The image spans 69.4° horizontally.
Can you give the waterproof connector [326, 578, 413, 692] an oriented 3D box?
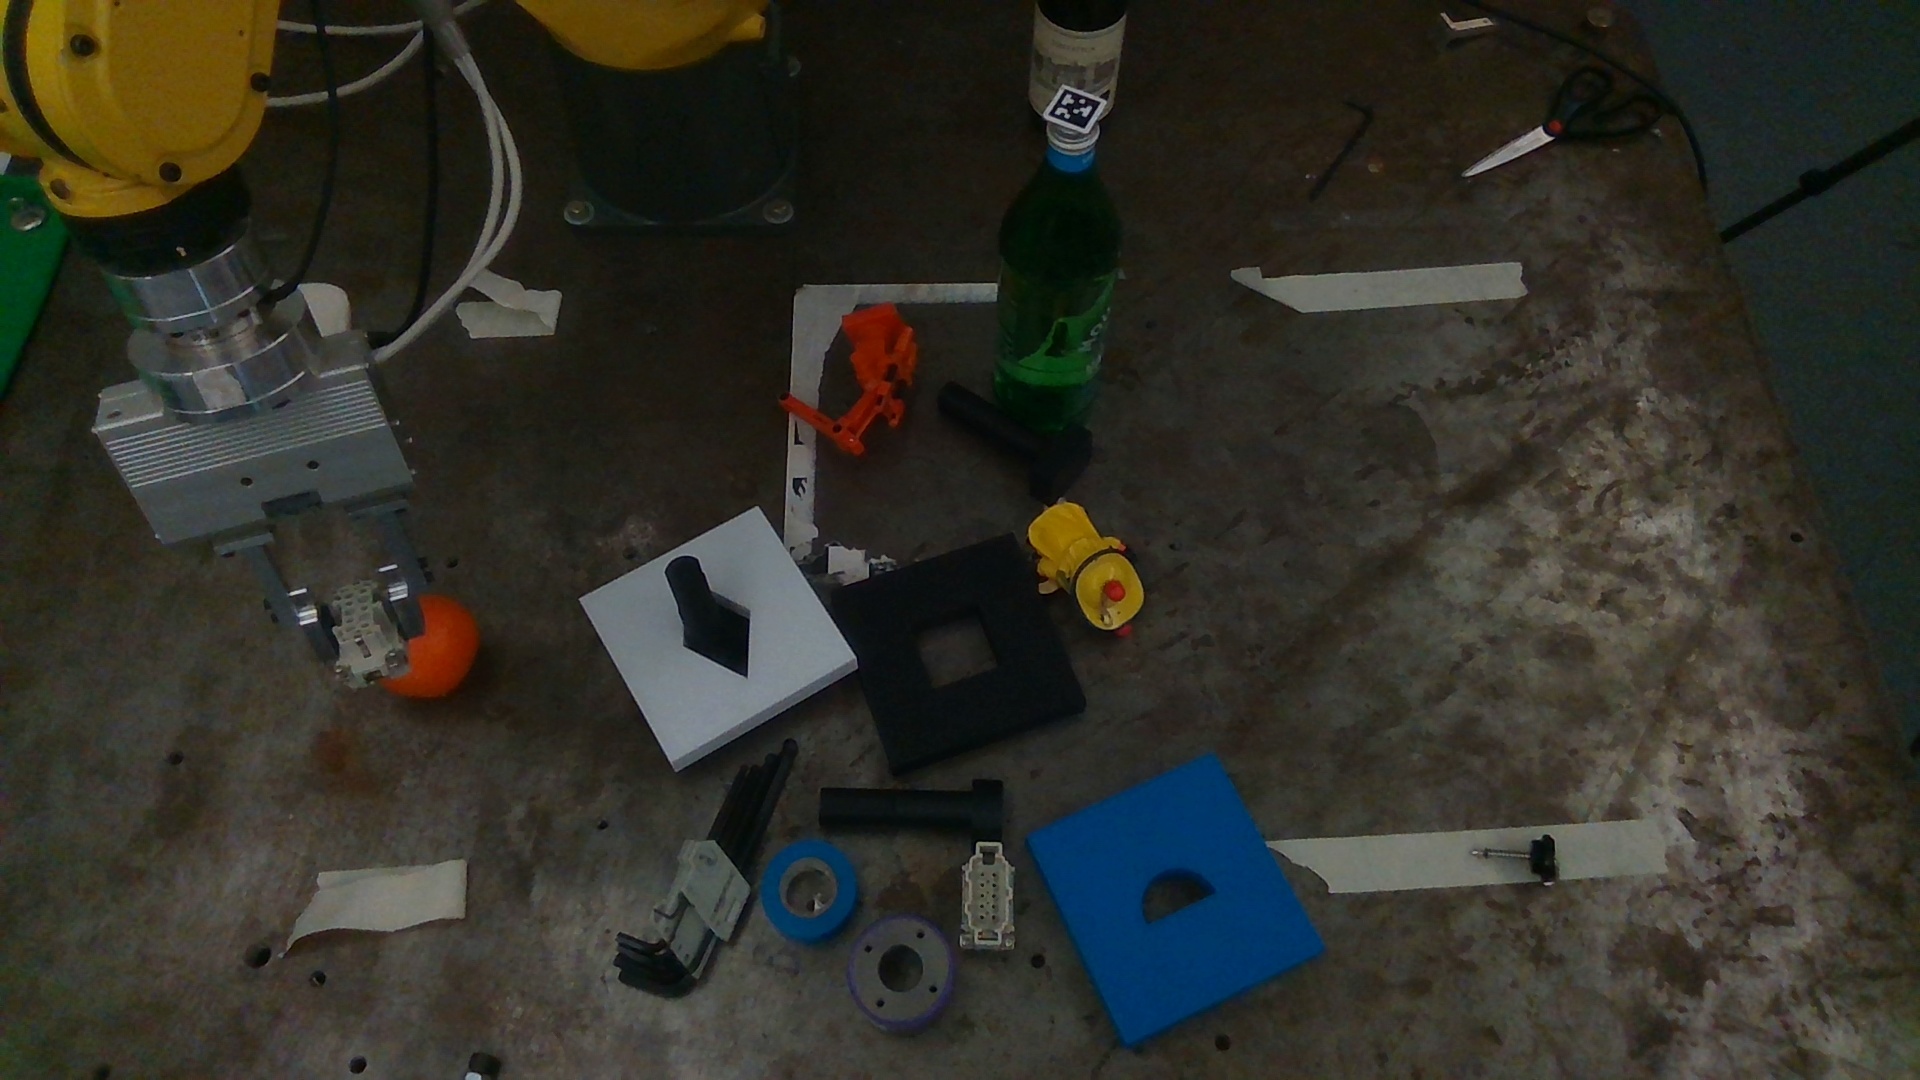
[{"bbox_3d":[-0.323,0.049,0.754,0.036,0.038,0.069,-21,42,-8],"label":"waterproof connector"}]
